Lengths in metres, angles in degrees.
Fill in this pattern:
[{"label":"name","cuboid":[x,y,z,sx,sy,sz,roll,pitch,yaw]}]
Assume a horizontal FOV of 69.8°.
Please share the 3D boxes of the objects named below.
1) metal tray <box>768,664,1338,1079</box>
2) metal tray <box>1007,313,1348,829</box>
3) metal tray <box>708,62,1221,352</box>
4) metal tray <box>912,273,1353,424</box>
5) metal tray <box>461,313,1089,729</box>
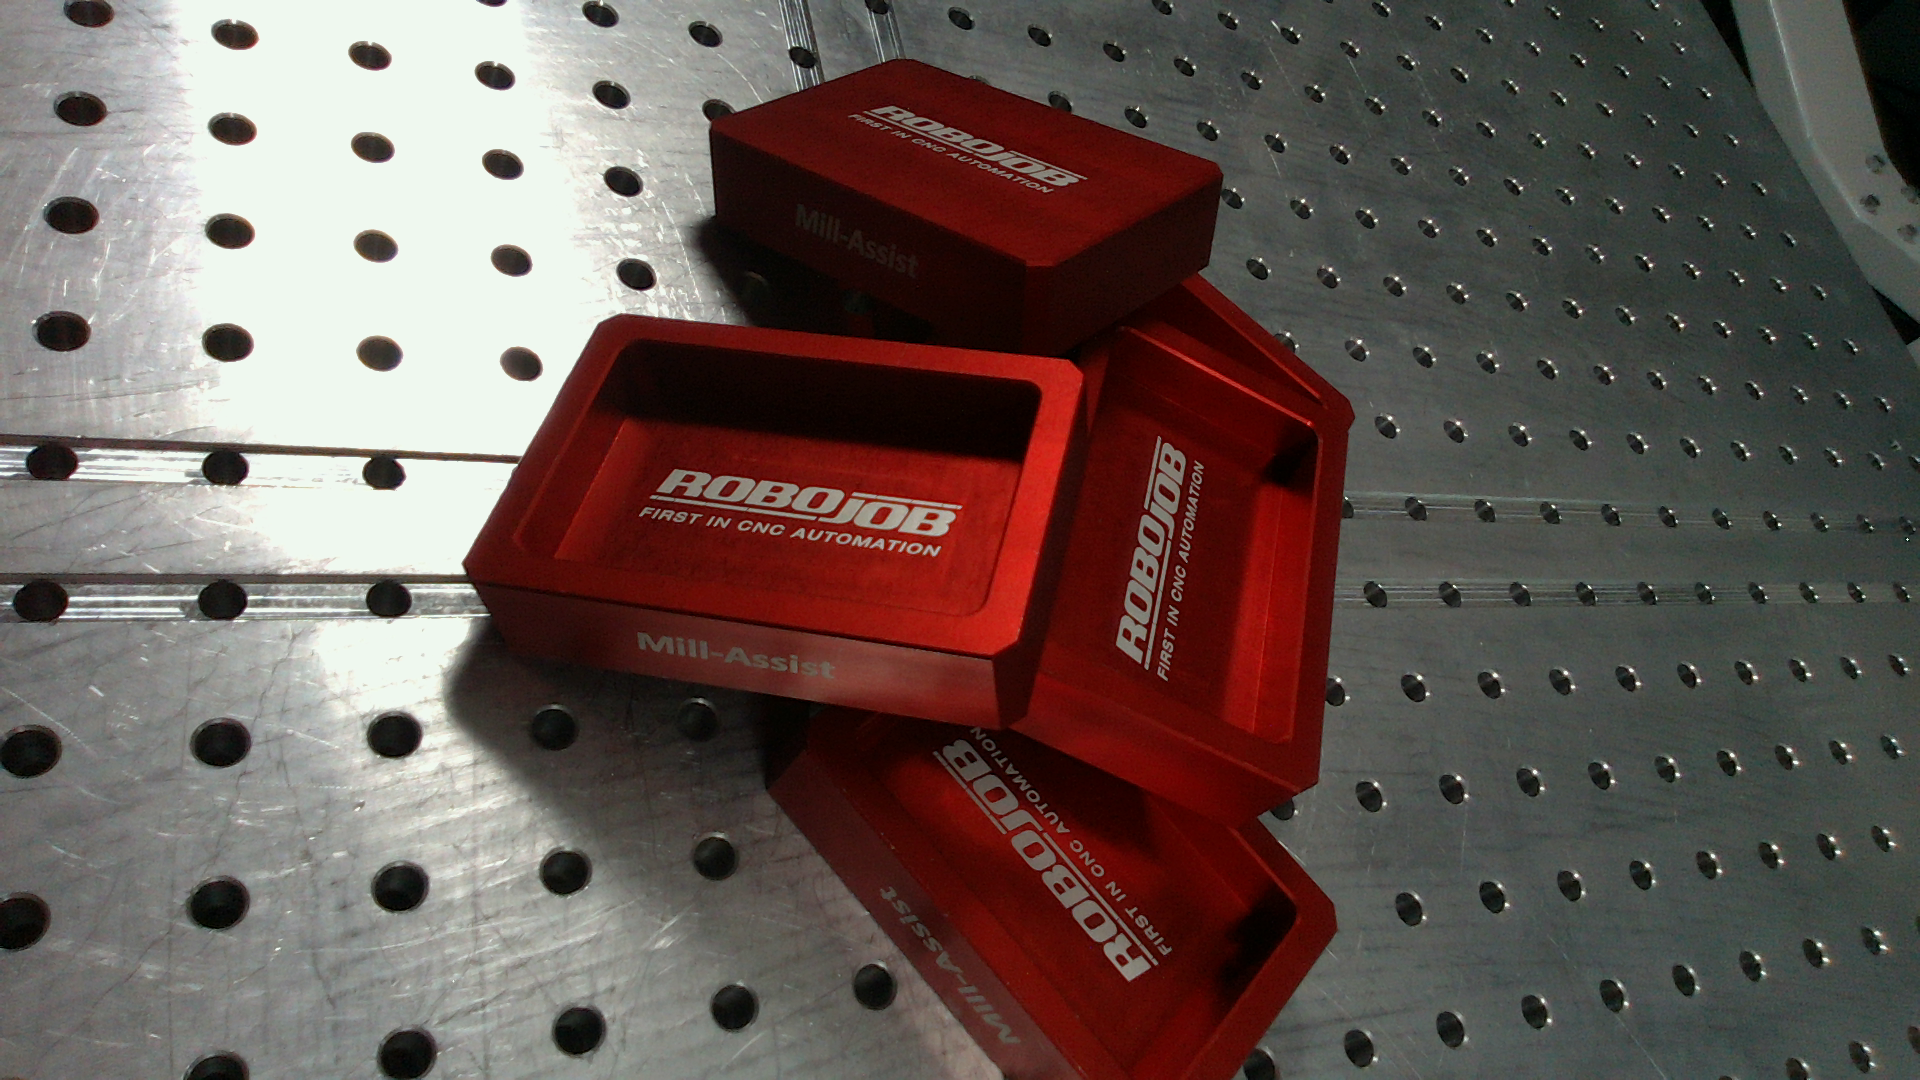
[{"label":"metal tray","cuboid":[0.026,0.080,0.354,0.130,0.030,0.090,48,51,6]},{"label":"metal tray","cuboid":[0.058,0.002,0.381,0.090,0.030,0.130,26,53,-12]},{"label":"metal tray","cuboid":[0.000,-0.104,0.414,0.130,0.030,0.090,29,44,29]},{"label":"metal tray","cuboid":[0.059,-0.052,0.453,0.130,0.030,0.090,40,51,-1]},{"label":"metal tray","cuboid":[-0.040,-0.009,0.334,0.130,0.030,0.090,7,53,12]}]
